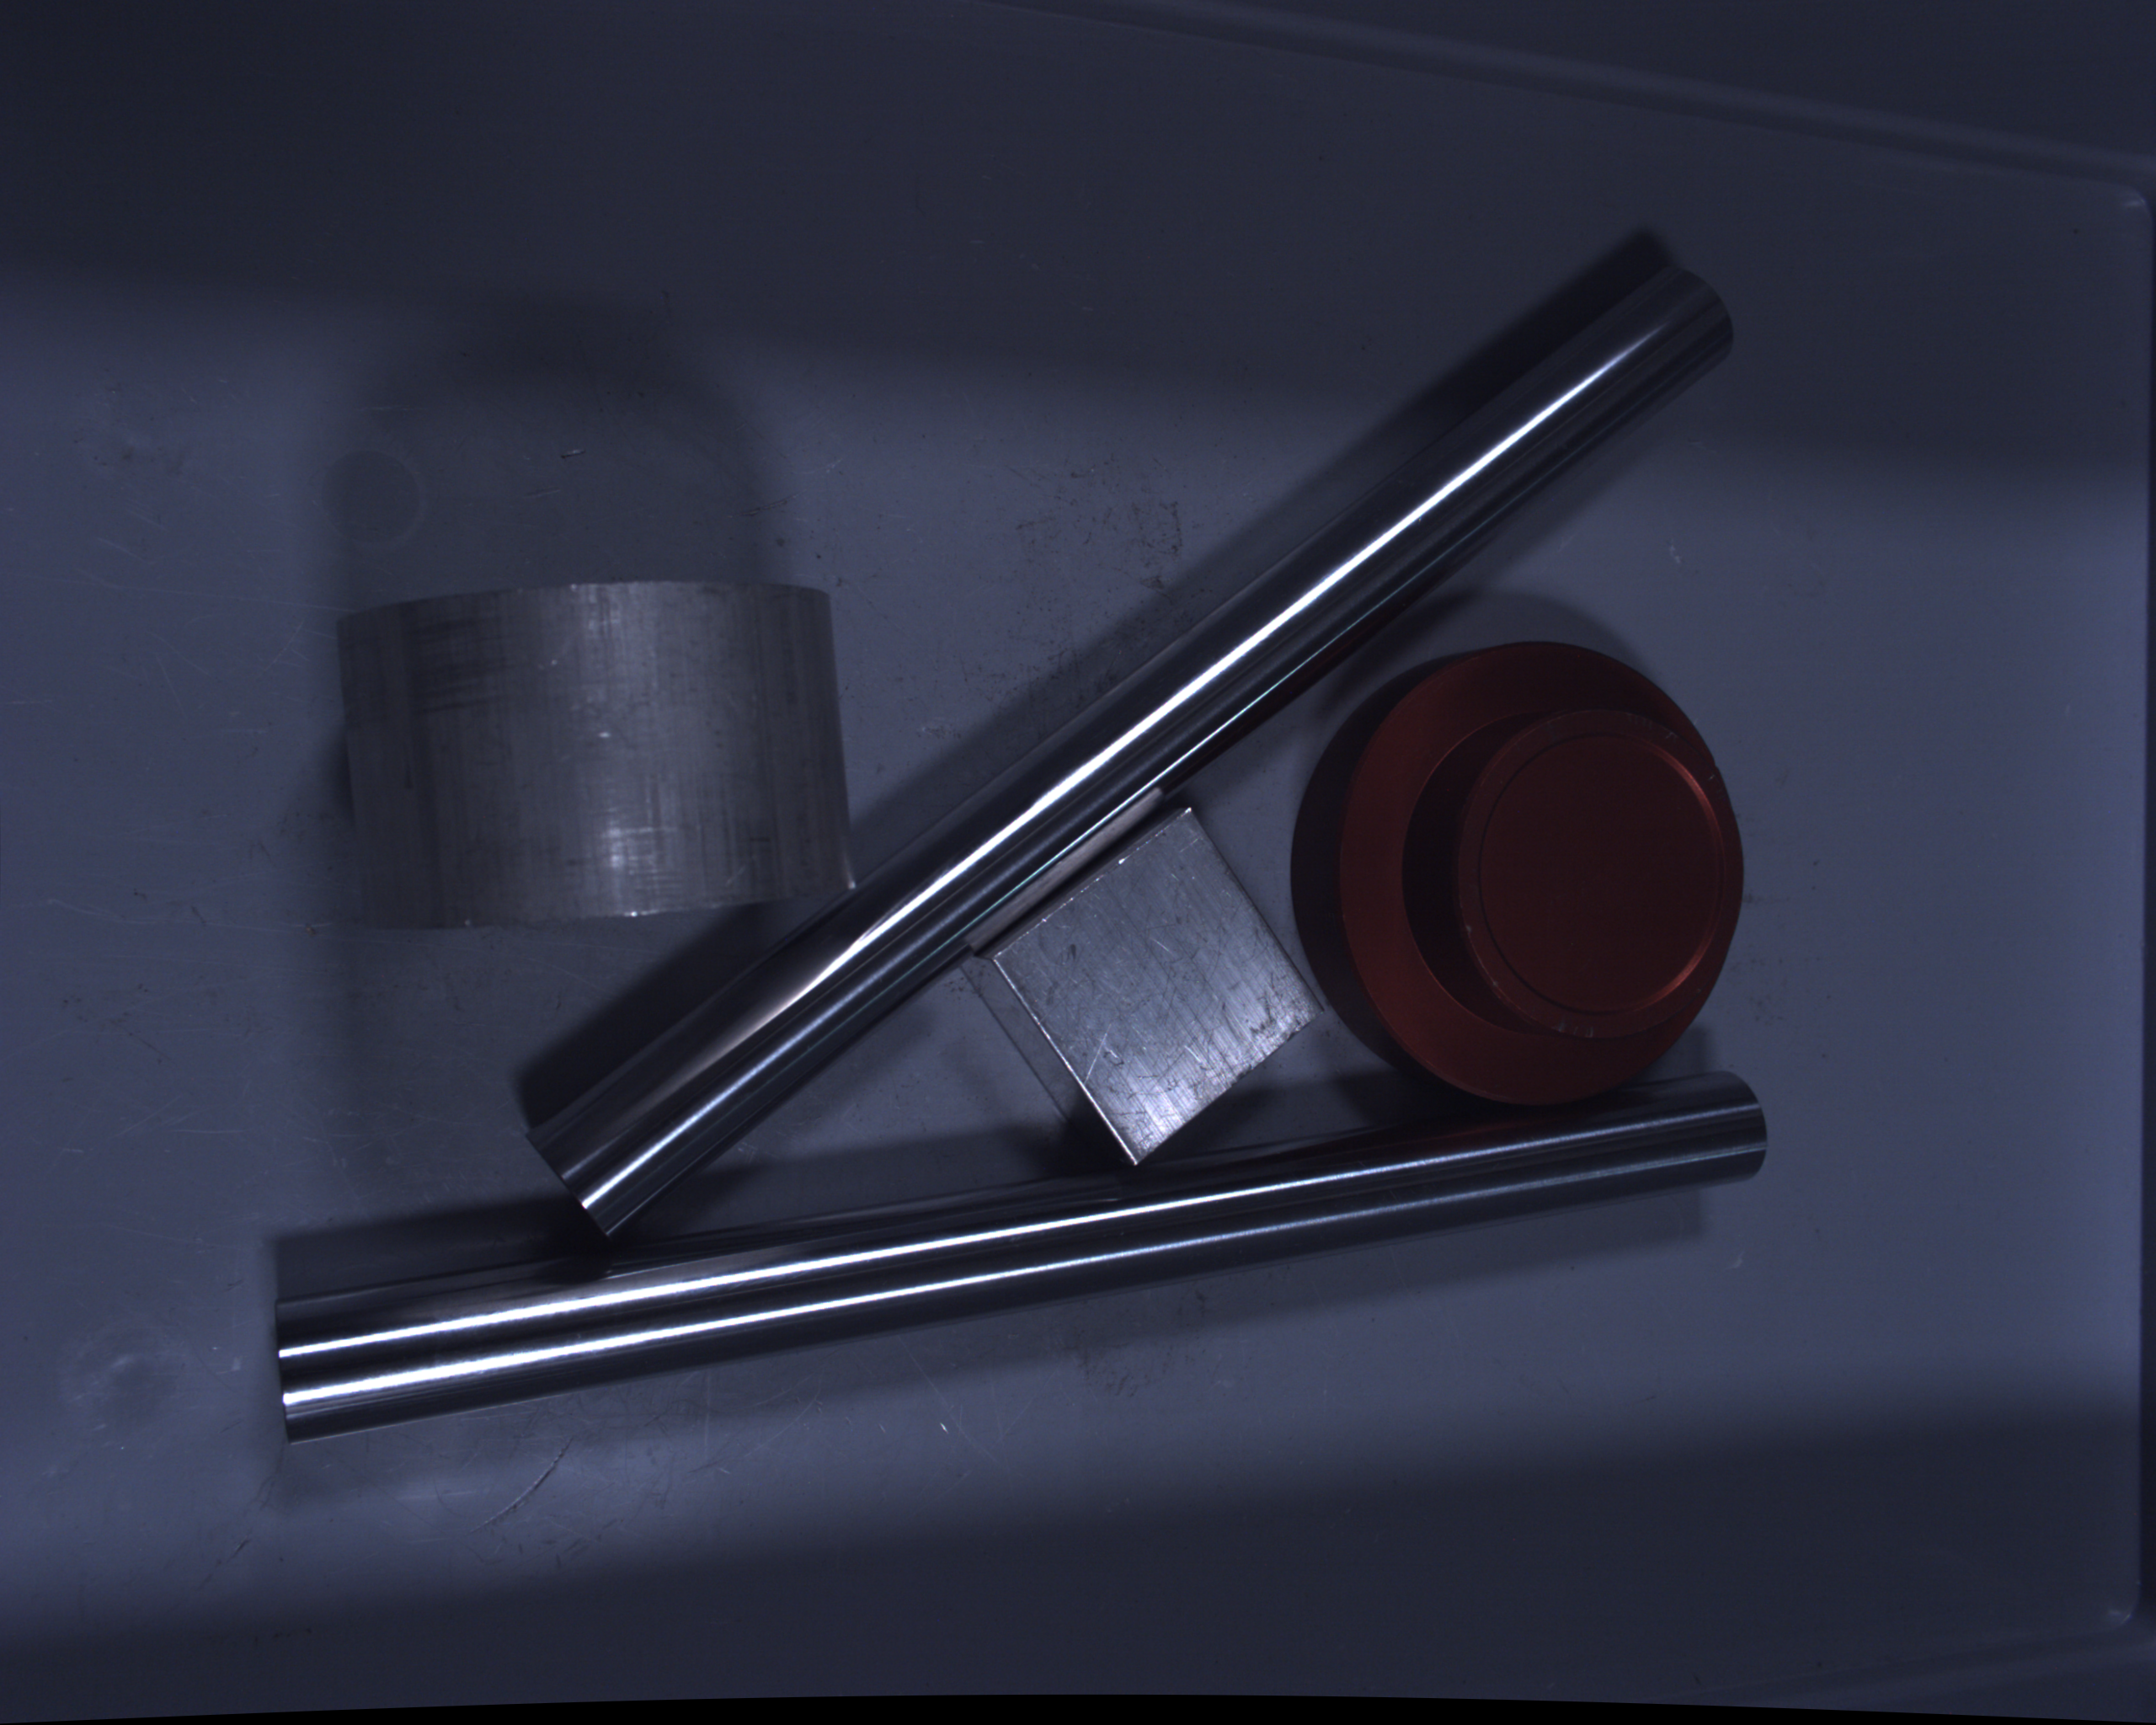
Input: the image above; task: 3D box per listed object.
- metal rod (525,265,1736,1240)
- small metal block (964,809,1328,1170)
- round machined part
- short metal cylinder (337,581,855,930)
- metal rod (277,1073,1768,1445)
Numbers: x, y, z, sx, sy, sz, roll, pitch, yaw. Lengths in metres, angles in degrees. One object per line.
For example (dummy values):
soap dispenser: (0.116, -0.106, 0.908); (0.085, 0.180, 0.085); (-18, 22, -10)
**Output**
metal rod: (0.022, -0.031, 0.418); (0.301, 0.025, 0.025); (-38, 103, -16)
small metal block: (0.013, 0.024, 0.414); (0.050, 0.025, 0.050); (-37, 102, -16)
round machined part: (0.099, 0.002, 0.436); (0.099, 0.042, 0.097); (0, 90, -21)
short metal cylinder: (-0.080, -0.018, 0.351); (0.081, 0.080, 0.050); (-5, 92, -20)
metal rod: (0.004, 0.073, 0.412); (0.303, 0.025, 0.025); (-6, 92, -20)
